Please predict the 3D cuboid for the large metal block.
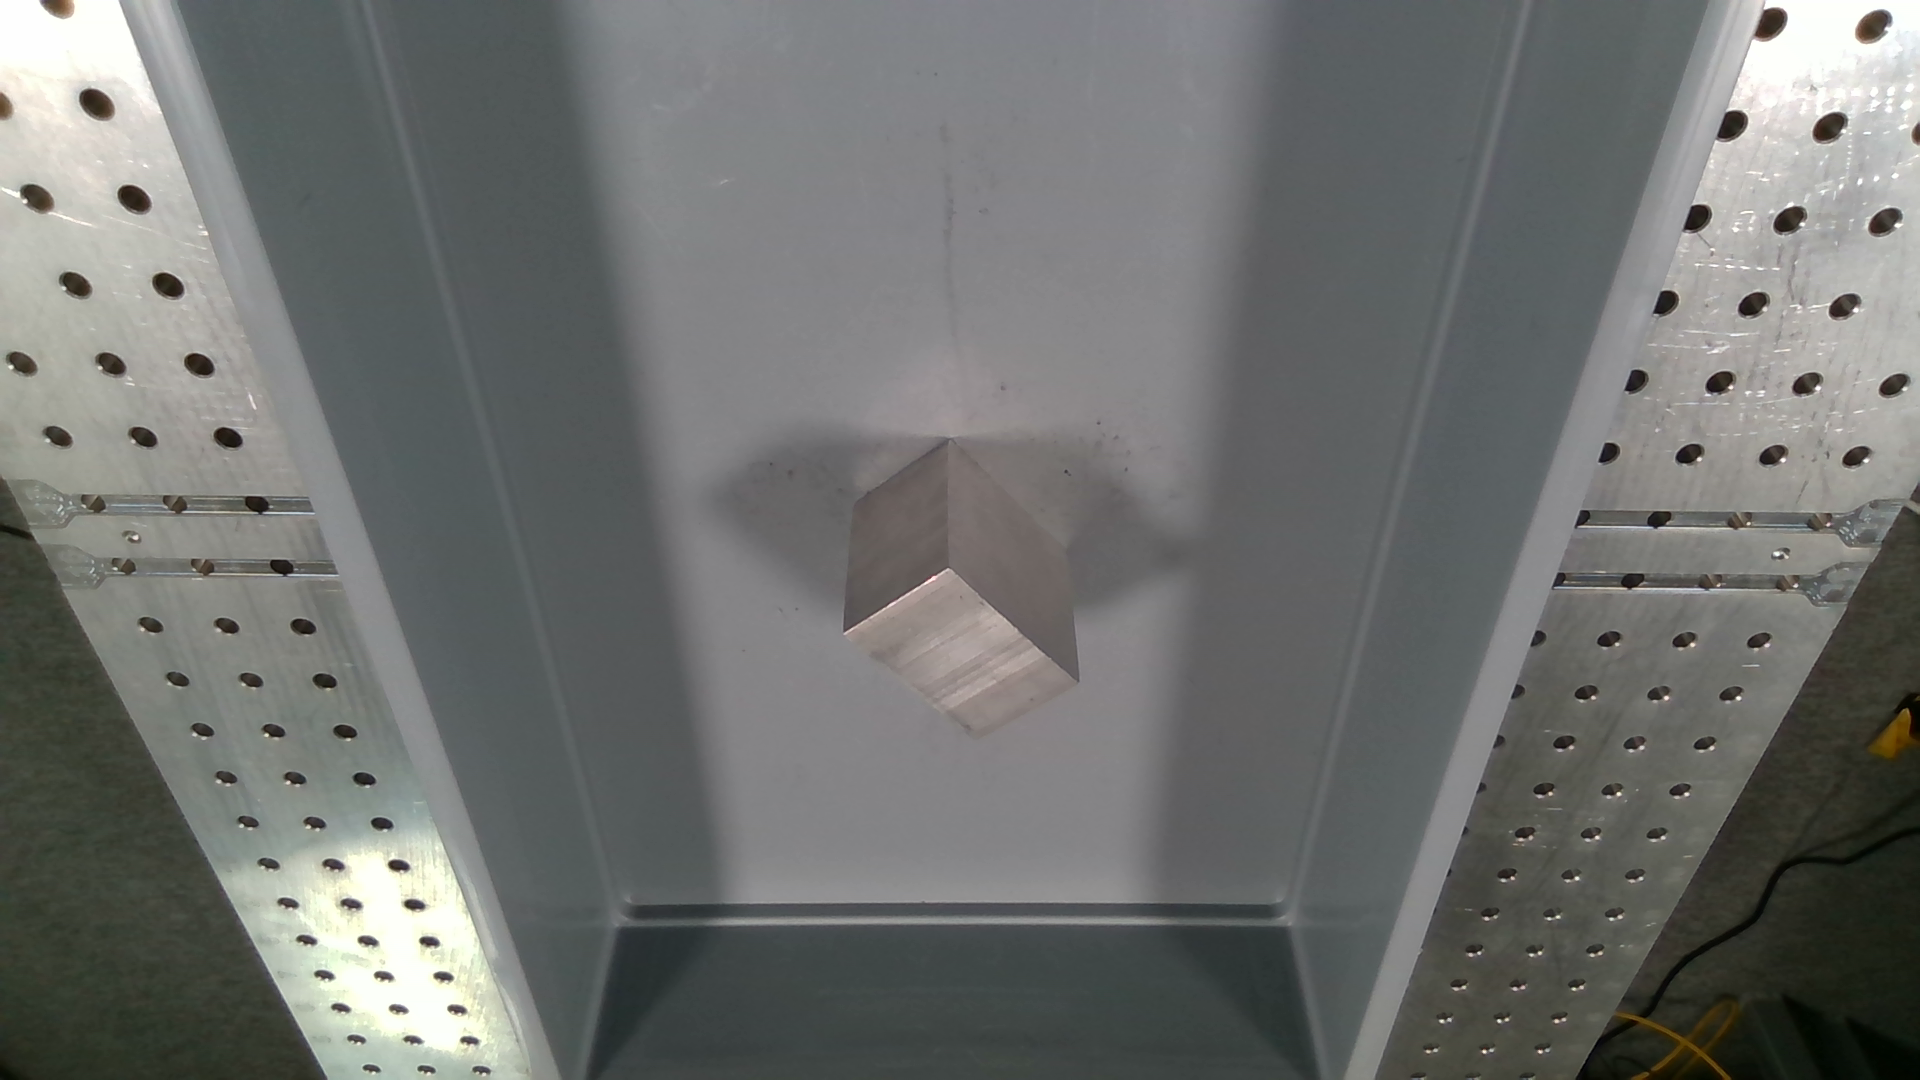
[{"bbox_3d":[0.001,0.021,0.557,0.050,0.080,0.080,-33,123,24],"label":"large metal block"}]
